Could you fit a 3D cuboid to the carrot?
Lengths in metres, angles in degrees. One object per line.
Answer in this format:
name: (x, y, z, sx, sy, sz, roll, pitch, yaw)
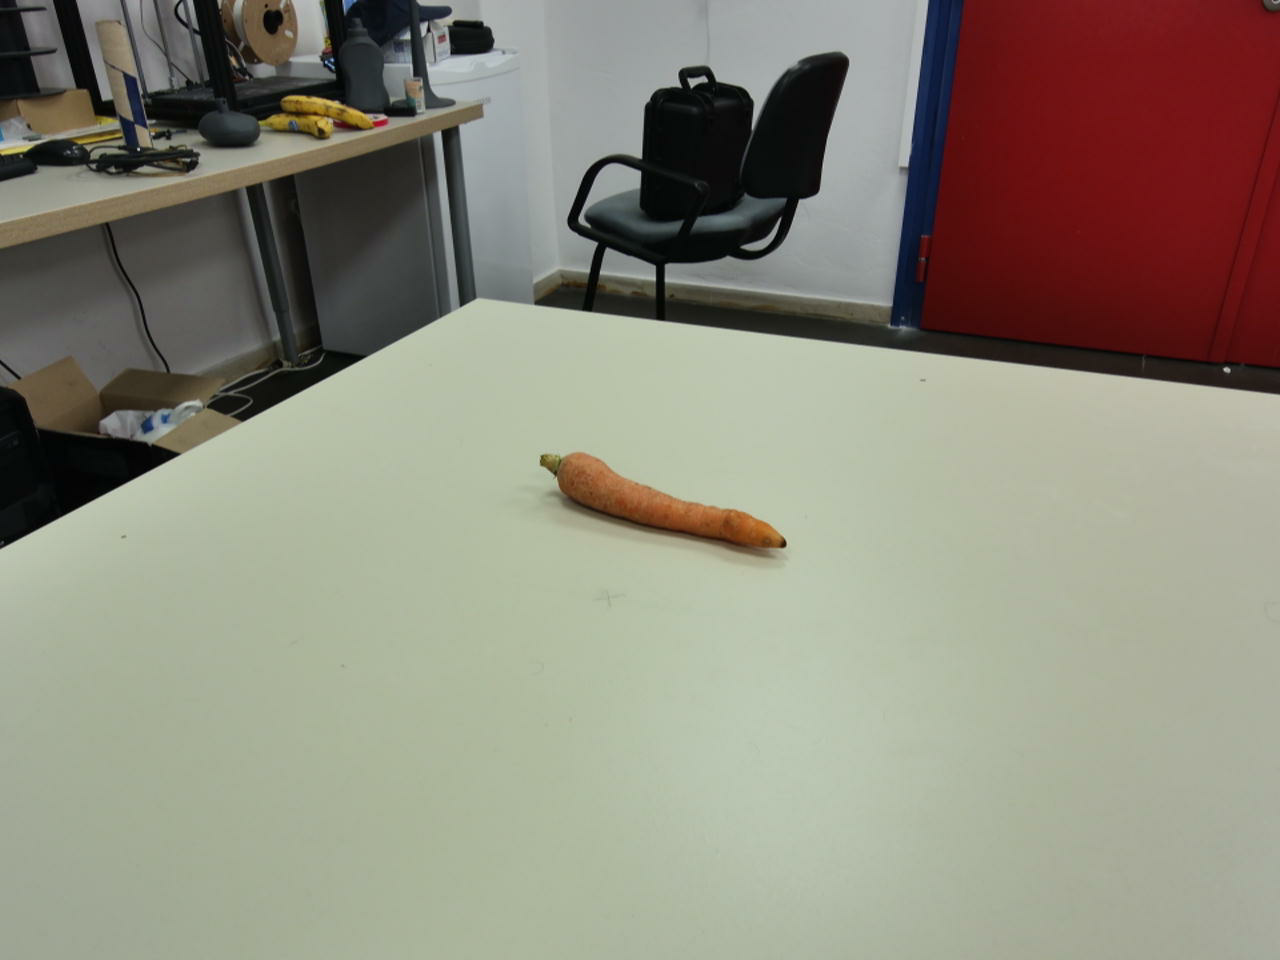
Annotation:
carrot: (0.012, 0.013, 0.624, 0.173, 0.032, 0.030, 15, 30, 30)
